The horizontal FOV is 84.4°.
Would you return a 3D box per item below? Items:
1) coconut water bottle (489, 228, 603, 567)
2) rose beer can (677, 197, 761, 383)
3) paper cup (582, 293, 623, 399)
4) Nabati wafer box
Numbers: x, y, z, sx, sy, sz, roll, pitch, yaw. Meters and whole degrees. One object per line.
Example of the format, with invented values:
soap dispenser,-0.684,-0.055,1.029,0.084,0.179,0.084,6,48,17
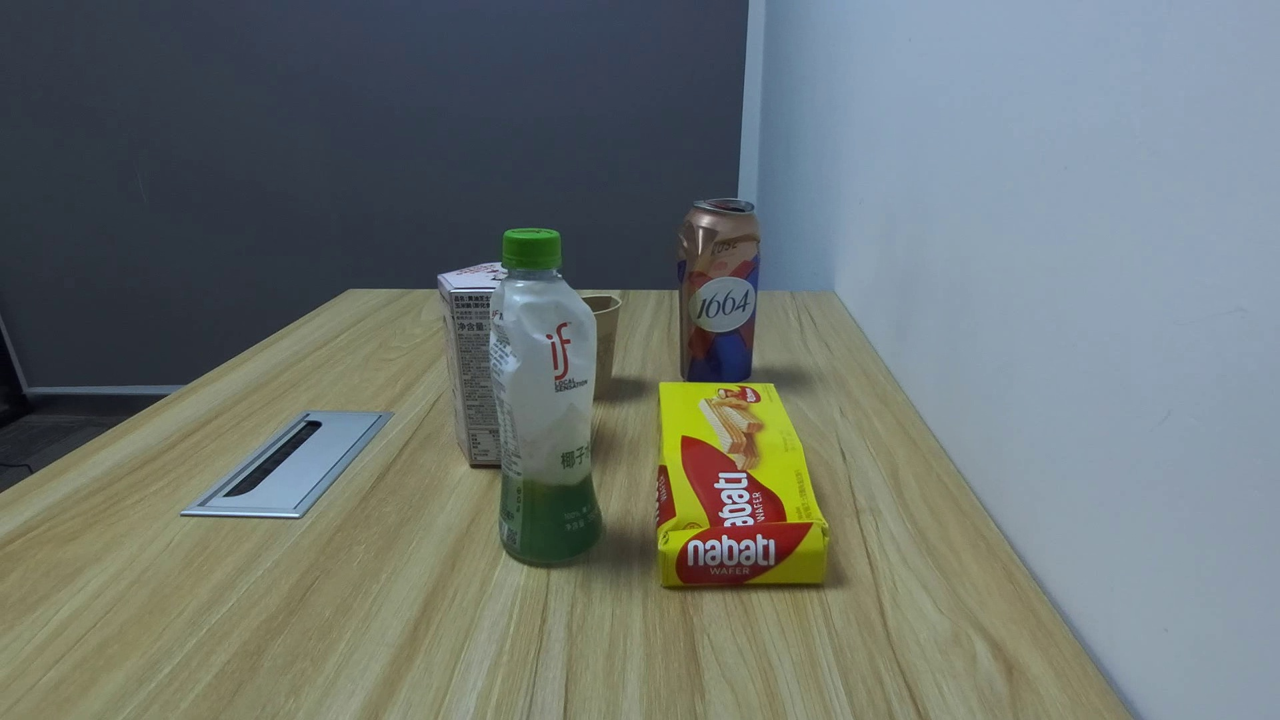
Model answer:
coconut water bottle,-0.055,0.021,0.406,0.067,0.187,0.067,-1,19,0
rose beer can,0.071,-0.056,0.630,0.076,0.167,0.065,-6,24,-19
paper cup,-0.054,-0.013,0.644,0.068,0.081,0.074,18,26,41
Nabati wafer box,0.059,0.071,0.475,0.096,0.042,0.203,1,22,1
